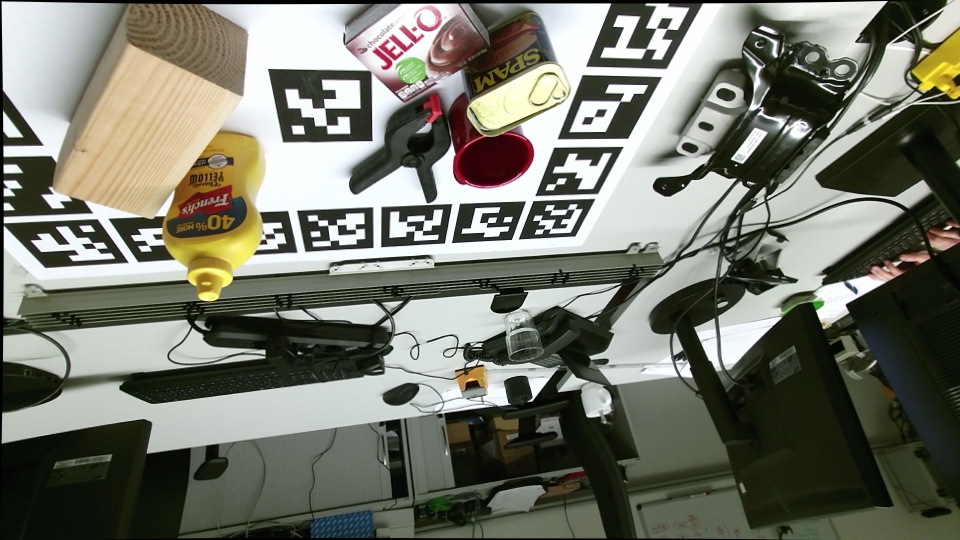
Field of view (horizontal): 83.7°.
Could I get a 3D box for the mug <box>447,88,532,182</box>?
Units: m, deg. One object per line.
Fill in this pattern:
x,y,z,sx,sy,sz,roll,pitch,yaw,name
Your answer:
0.000,-0.159,0.642,0.094,0.081,0.117,9,140,-31,mug

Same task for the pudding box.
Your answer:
-0.066,-0.223,0.516,0.114,0.038,0.090,-26,146,22,pudding box

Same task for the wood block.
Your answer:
-0.316,-0.146,0.505,0.206,0.090,0.090,-33,145,33,wood block

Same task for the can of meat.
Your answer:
0.032,-0.196,0.541,0.102,0.083,0.058,-21,146,13,can of meat

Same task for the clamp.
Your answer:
-0.086,-0.133,0.659,0.122,0.036,0.165,8,141,-27,clamp

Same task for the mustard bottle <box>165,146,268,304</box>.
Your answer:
-0.279,-0.046,0.570,0.096,0.190,0.058,-8,147,-9,mustard bottle
